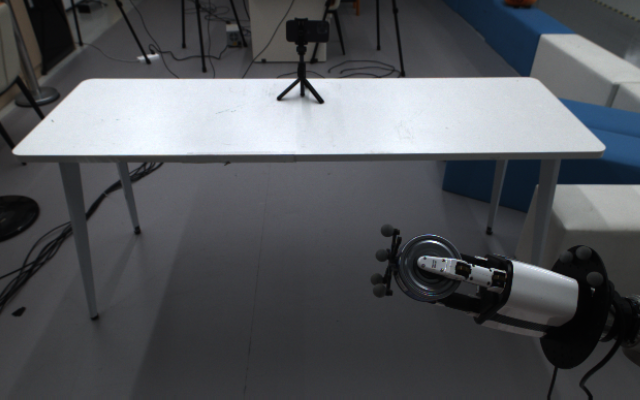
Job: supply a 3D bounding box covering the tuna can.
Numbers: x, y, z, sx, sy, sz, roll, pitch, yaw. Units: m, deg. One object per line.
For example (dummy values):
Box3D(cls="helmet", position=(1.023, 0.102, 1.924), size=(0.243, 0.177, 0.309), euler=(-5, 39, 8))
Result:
Box3D(cls="tuna can", position=(0.143, 0.086, 0.629), size=(0.085, 0.034, 0.085), euler=(2, 73, -6))
